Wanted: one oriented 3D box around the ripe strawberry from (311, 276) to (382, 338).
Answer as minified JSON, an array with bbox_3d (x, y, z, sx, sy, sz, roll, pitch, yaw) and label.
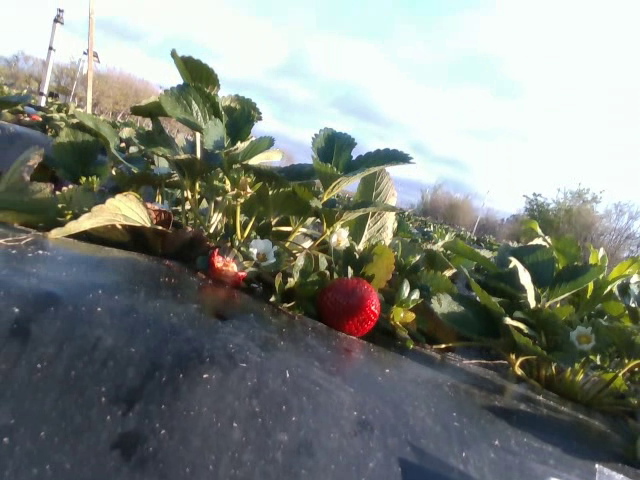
[{"bbox_3d":[0.023,0.040,0.386,0.052,0.041,0.052,-1,-10,-16],"label":"ripe strawberry"}]
